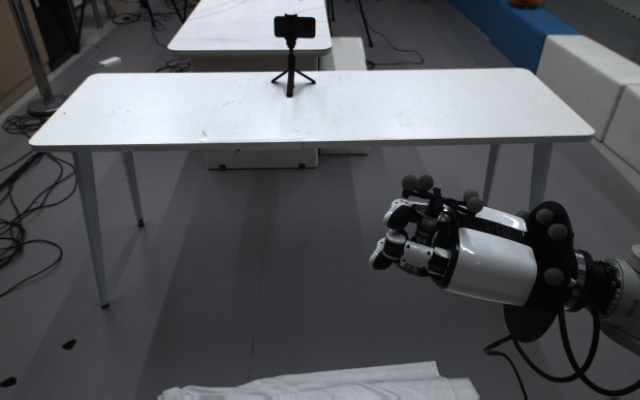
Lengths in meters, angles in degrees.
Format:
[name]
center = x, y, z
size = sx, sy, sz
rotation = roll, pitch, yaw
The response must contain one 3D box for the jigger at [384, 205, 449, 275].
[jigger]
center = 0.117, 0.045, 0.544
size = 0.043, 0.071, 0.043
rotation = 15, 17, -5
